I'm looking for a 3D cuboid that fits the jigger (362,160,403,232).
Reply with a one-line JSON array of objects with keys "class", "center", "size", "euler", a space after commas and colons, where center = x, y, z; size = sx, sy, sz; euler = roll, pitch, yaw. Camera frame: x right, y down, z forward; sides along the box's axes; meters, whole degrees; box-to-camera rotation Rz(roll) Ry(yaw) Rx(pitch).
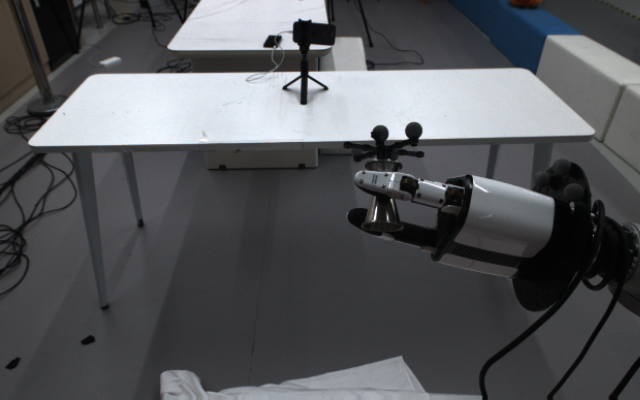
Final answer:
[{"class": "jigger", "center": [0.065, -0.005, 0.510], "size": [0.043, 0.043, 0.071], "euler": [3, 75, 1]}]
